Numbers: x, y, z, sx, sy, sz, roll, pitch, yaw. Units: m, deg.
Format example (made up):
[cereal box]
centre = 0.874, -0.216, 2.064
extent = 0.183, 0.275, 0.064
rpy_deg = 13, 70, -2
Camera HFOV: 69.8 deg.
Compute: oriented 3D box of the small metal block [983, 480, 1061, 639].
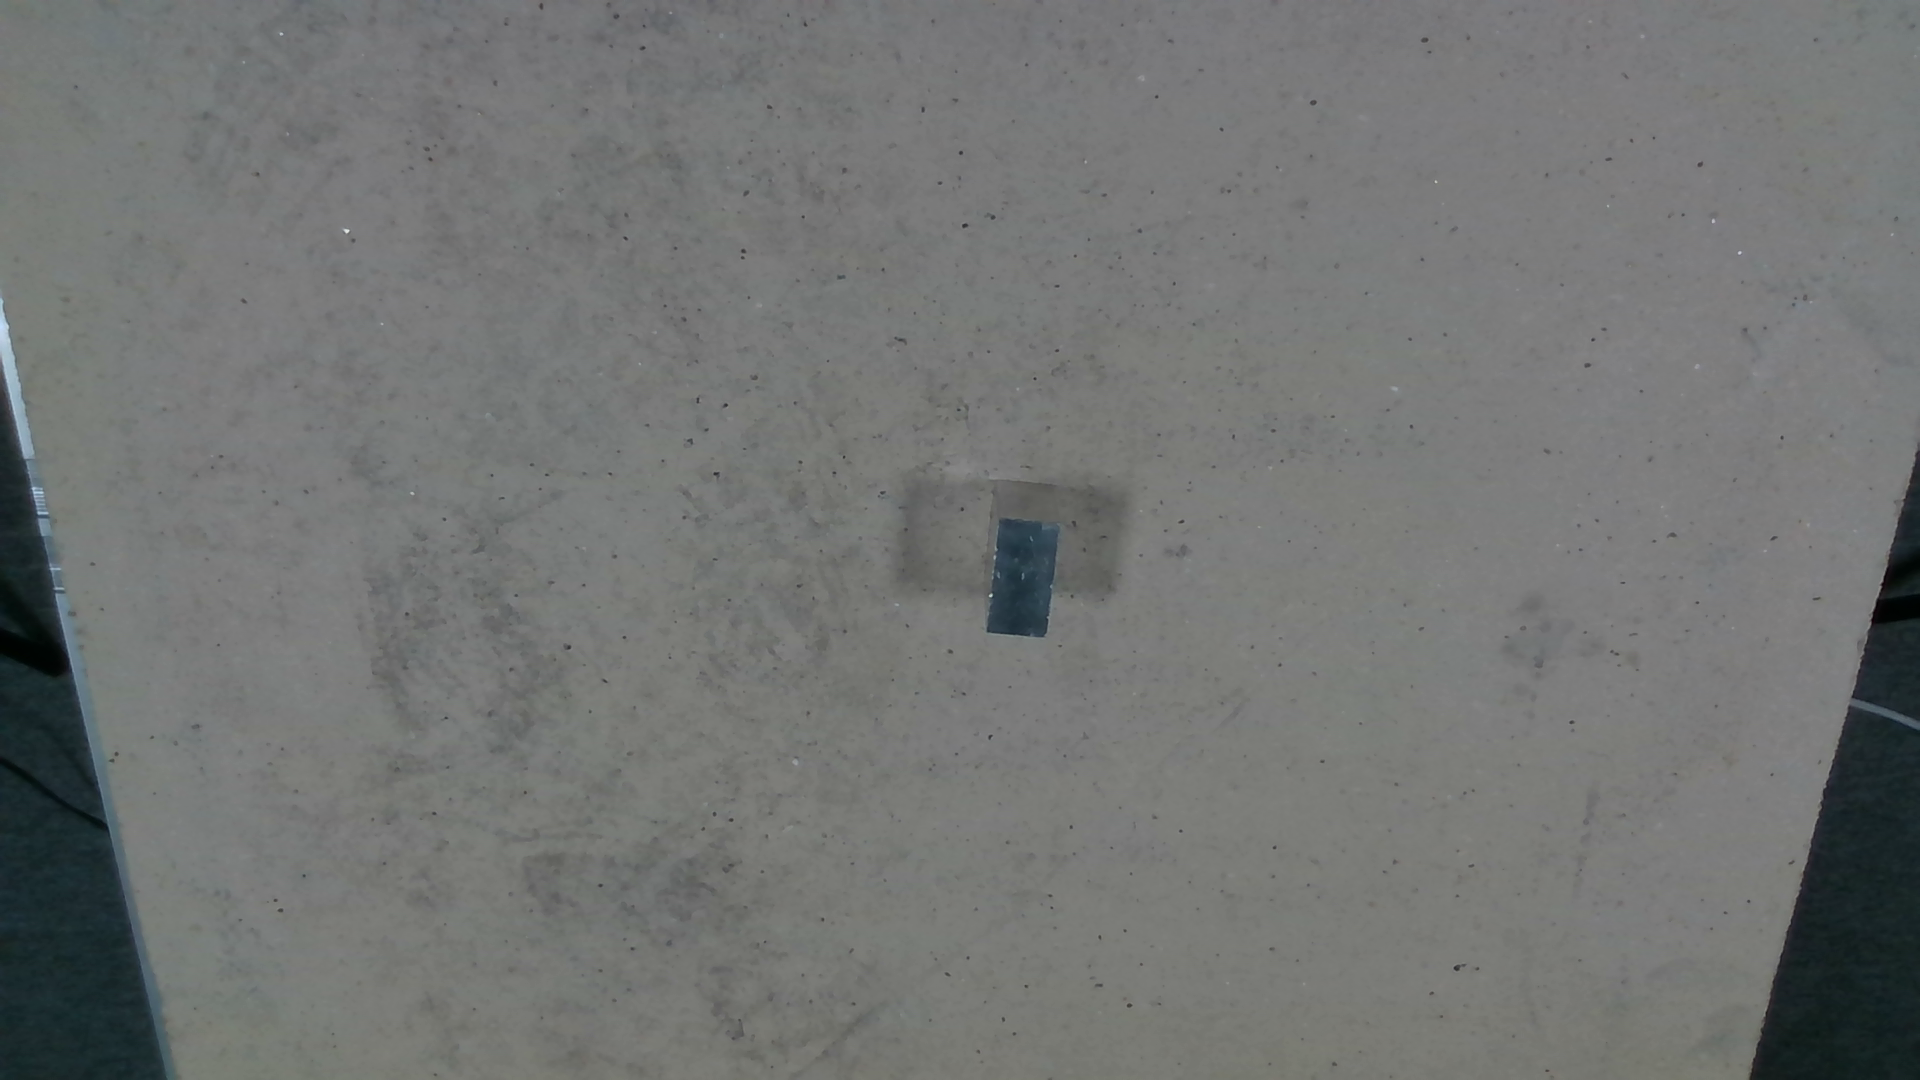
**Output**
[small metal block]
centre = 0.025, 0.007, 0.574
extent = 0.025, 0.050, 0.050
rpy_deg = 5, 110, -2
